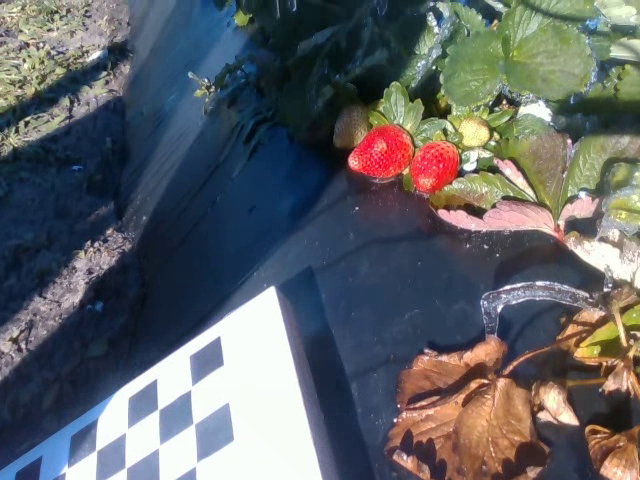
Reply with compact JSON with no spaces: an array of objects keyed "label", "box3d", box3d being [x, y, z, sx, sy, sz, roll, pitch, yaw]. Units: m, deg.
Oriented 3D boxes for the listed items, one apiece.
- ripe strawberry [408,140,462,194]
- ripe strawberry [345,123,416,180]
[{"label":"ripe strawberry","box3d":[0.072,-0.045,0.381,0.036,0.041,0.030,-14,-47,32]},{"label":"ripe strawberry","box3d":[0.035,-0.053,0.392,0.051,0.040,0.036,-25,25,-39]}]
